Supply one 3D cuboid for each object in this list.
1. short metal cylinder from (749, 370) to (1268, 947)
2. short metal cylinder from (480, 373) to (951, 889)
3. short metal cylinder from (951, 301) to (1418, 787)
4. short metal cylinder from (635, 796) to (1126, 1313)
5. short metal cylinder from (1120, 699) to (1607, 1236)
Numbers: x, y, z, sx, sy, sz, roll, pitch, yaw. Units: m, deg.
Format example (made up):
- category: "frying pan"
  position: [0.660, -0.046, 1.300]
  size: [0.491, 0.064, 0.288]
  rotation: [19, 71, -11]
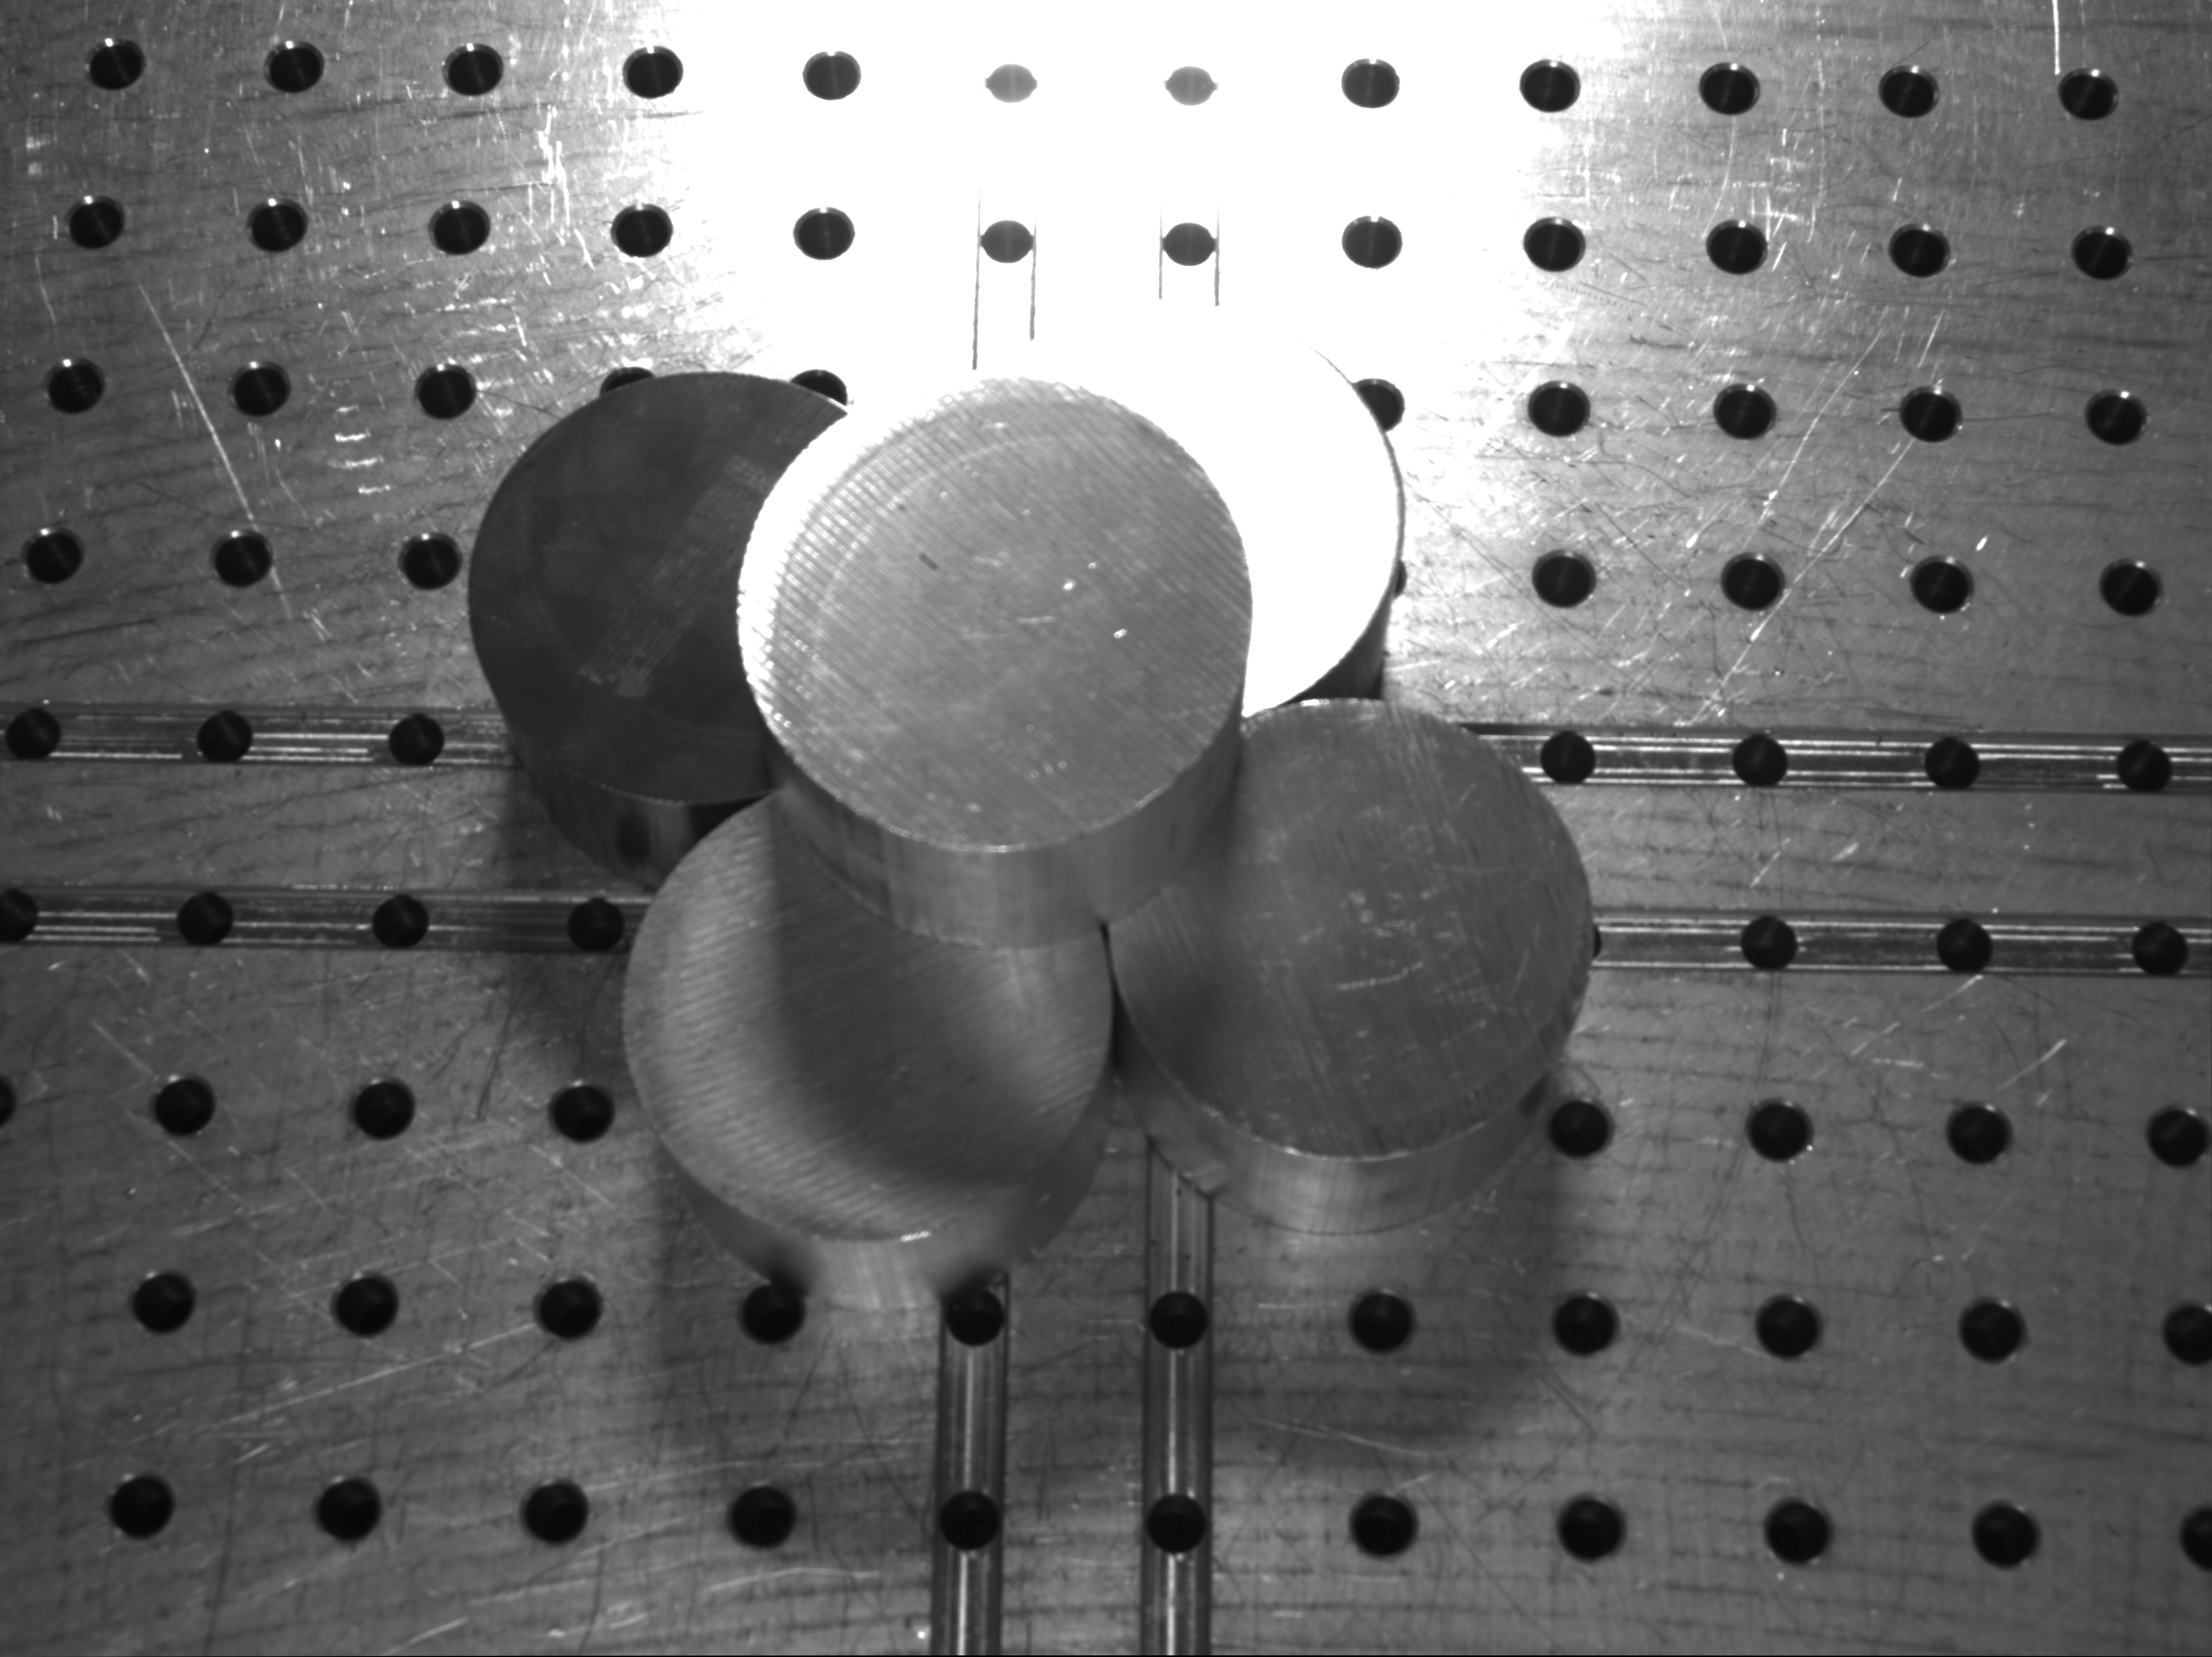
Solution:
- category: "short metal cylinder"
  position: [-0.015, -0.026, 0.589]
  size: [0.080, 0.050, 0.080]
  rotation: [0, 71, -1]
- category: "short metal cylinder"
  position: [-0.066, -0.033, 0.645]
  size: [0.080, 0.050, 0.080]
  rotation: [0, 70, 0]
- category: "short metal cylinder"
  position: [0.014, -0.046, 0.650]
  size: [0.080, 0.050, 0.080]
  rotation: [0, 70, 0]
- category: "short metal cylinder"
  position: [-0.037, 0.037, 0.620]
  size: [0.080, 0.050, 0.080]
  rotation: [0, 70, 0]
- category: "short metal cylinder"
  position: [0.042, 0.024, 0.624]
  size: [0.080, 0.050, 0.080]
  rotation: [0, 70, 0]
